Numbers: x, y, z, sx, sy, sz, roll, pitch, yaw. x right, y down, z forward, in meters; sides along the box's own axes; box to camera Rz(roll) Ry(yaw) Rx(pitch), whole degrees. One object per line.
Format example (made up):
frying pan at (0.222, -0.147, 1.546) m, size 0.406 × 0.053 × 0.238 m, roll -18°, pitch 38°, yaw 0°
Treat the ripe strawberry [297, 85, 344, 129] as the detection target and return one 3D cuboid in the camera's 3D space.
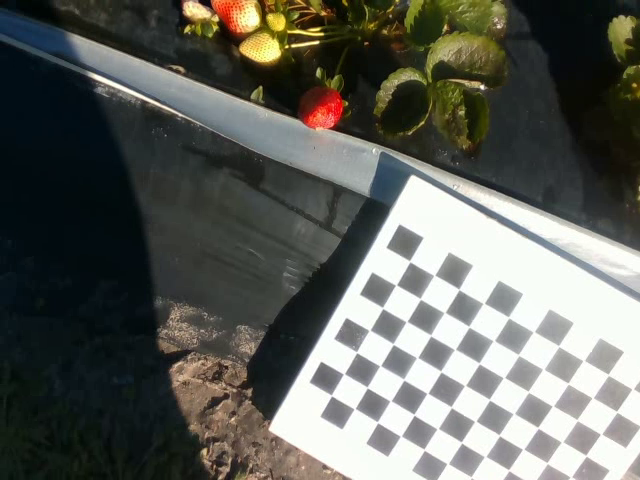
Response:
ripe strawberry at (-0.002, -0.089, 0.398) m, size 0.036 × 0.038 × 0.046 m, roll 27°, pitch 26°, yaw 3°
